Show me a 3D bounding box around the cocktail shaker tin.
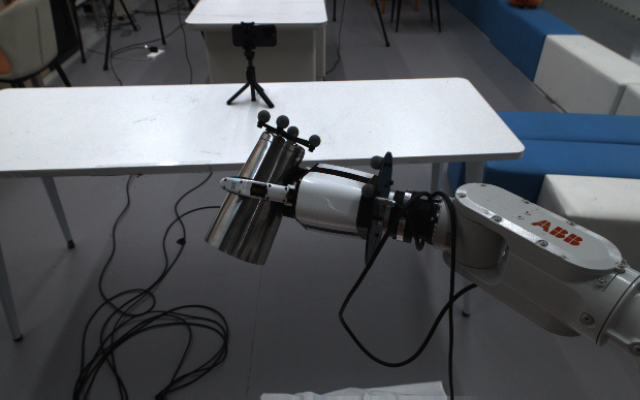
[{"bbox_3d":[-0.083,-0.008,0.678,0.093,0.170,0.093,23,0,0],"label":"cocktail shaker tin"}]
